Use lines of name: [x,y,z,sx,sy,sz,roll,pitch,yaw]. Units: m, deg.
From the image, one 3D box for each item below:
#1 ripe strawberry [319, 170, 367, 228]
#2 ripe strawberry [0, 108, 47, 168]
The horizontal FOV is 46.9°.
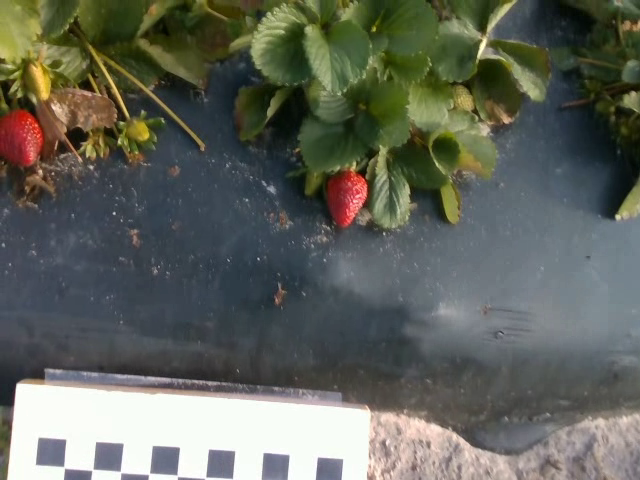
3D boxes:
ripe strawberry: [0.015,-0.022,0.409,0.029,0.036,0.021,6,-13,-4]
ripe strawberry: [-0.156,-0.049,0.377,0.031,0.030,0.026,-32,-19,-11]
